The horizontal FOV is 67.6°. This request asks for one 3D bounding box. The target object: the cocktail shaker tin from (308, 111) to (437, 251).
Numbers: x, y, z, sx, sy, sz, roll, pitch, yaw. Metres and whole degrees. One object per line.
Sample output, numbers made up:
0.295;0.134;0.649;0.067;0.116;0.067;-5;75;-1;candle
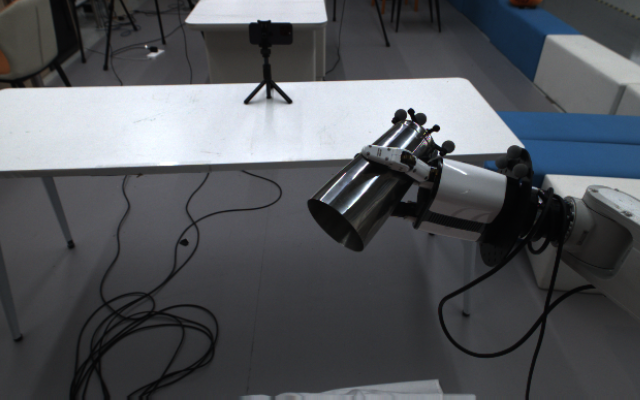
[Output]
0.074;-0.030;0.627;0.093;0.093;0.170;32;66;35;cocktail shaker tin
